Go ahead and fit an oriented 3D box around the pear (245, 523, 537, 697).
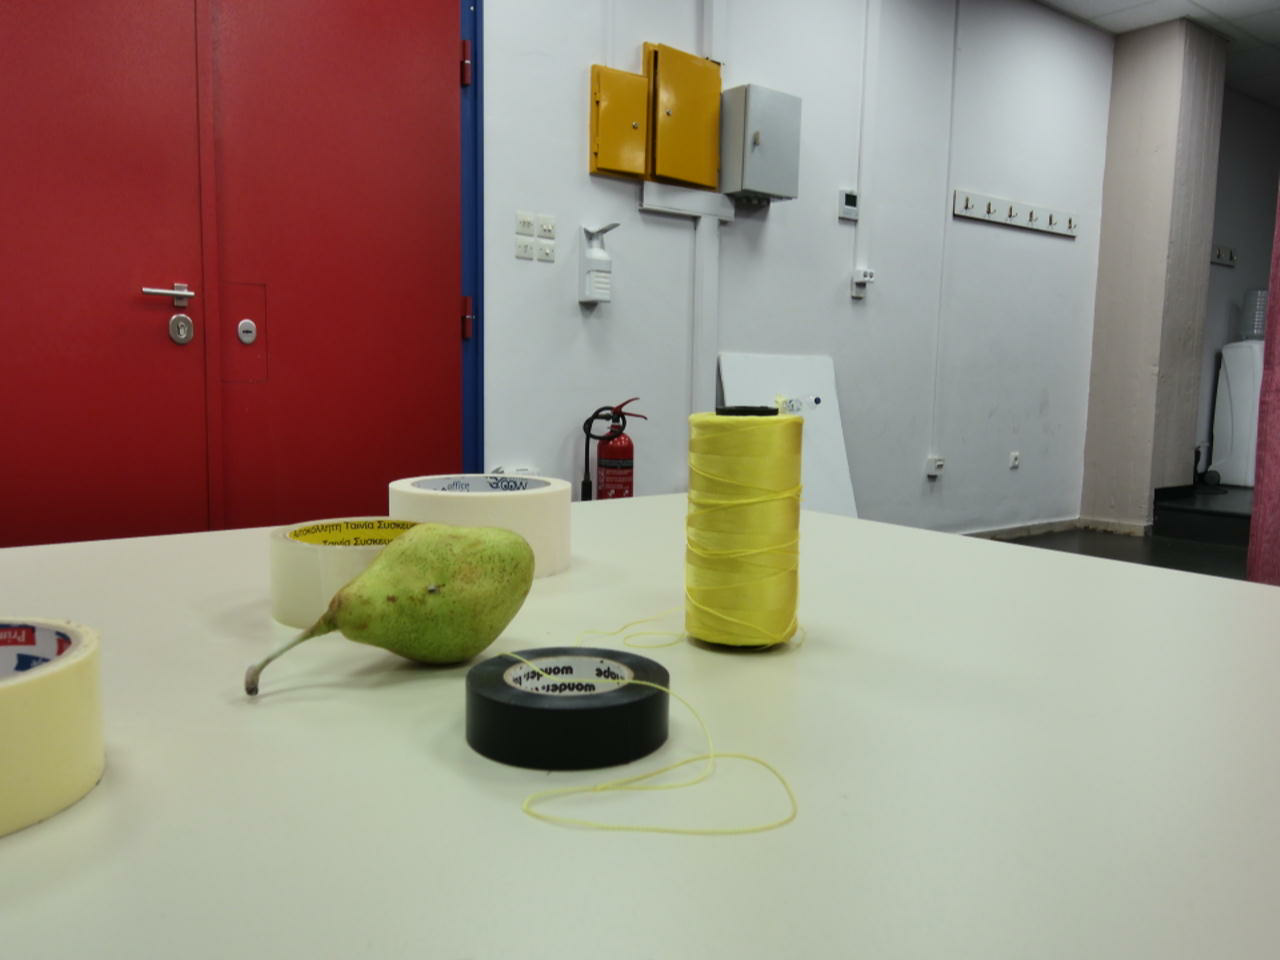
[{"bbox_3d":[-0.096,0.046,0.393,0.111,0.056,0.056,-2,4,-23],"label":"pear"}]
